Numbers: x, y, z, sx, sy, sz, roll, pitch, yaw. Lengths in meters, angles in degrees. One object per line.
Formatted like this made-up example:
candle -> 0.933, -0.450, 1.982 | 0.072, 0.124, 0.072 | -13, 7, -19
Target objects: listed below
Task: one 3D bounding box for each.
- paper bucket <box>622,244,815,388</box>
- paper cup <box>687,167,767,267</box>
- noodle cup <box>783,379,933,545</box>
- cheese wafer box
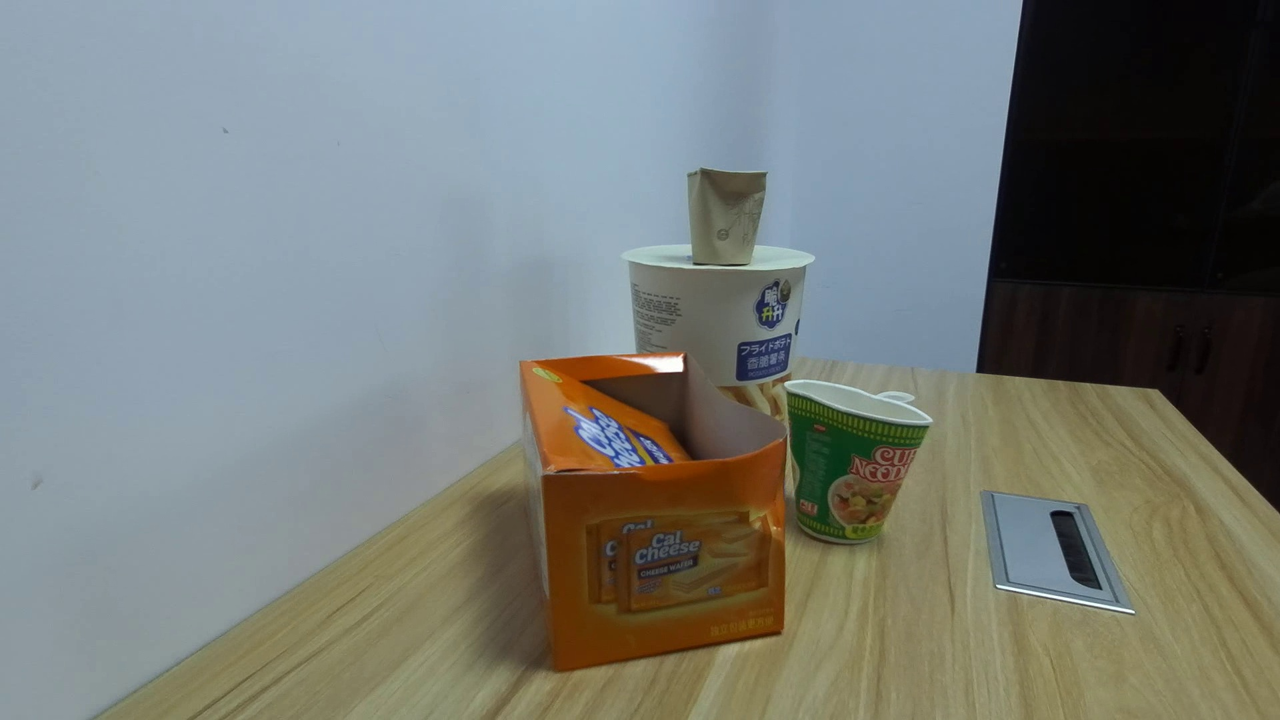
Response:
paper bucket -> 0.073, -0.011, 0.715 | 0.198, 0.194, 0.198 | 1, 16, 0
paper cup -> 0.077, -0.130, 0.640 | 0.066, 0.084, 0.071 | -3, 13, -10
noodle cup -> 0.158, 0.077, 0.550 | 0.070, 0.111, 0.114 | -7, 19, -16
cheese wafer box -> -0.002, 0.088, 0.498 | 0.152, 0.132, 0.230 | -2, 15, -14
